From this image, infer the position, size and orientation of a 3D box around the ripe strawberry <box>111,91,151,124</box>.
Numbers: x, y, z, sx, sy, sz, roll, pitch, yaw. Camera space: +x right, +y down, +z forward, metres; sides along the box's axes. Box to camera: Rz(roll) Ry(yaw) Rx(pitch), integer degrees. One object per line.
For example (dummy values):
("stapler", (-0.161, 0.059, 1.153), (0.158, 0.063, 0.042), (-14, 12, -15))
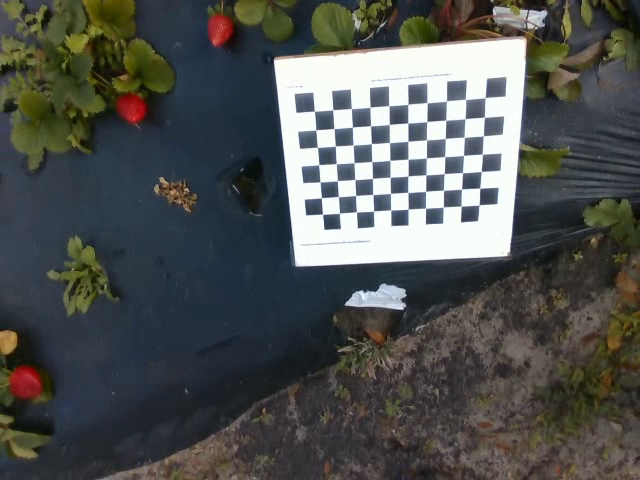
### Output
("ripe strawberry", (-0.253, -0.169, 0.800), (0.050, 0.046, 0.050), (-5, 43, -4))

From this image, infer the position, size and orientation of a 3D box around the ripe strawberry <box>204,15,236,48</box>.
("ripe strawberry", (-0.130, -0.260, 0.766), (0.044, 0.052, 0.041), (15, -21, -13))
